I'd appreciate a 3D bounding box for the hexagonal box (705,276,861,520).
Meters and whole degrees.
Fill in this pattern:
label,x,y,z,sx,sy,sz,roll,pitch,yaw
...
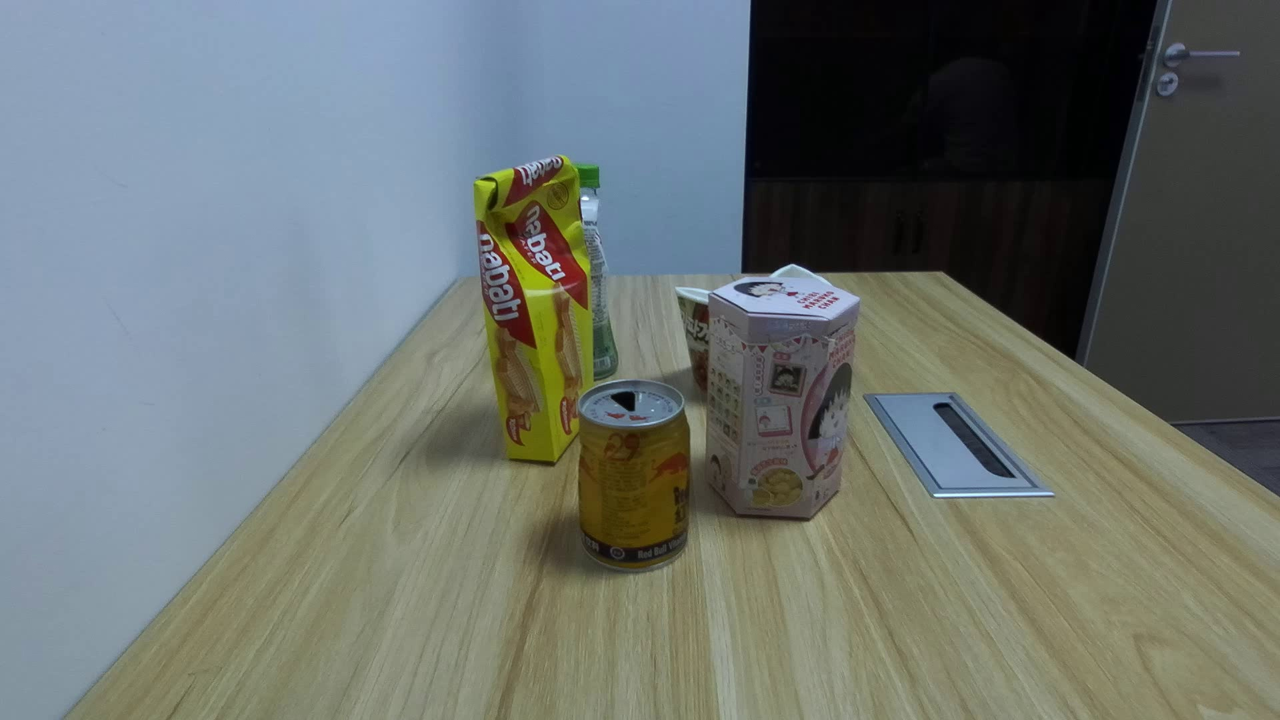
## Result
label,x,y,z,sx,sy,sz,roll,pitch,yaw
hexagonal box,0.089,0.023,0.451,0.083,0.136,0.091,15,27,33

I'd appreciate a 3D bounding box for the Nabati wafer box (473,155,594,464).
label,x,y,z,sx,sy,sz,roll,pitch,yaw
Nabati wafer box,-0.071,-0.036,0.514,0.042,0.205,0.113,4,24,17

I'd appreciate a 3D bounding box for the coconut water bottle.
label,x,y,z,sx,sy,sz,roll,pitch,yaw
coconut water bottle,-0.051,-0.080,0.639,0.069,0.187,0.069,0,19,0
